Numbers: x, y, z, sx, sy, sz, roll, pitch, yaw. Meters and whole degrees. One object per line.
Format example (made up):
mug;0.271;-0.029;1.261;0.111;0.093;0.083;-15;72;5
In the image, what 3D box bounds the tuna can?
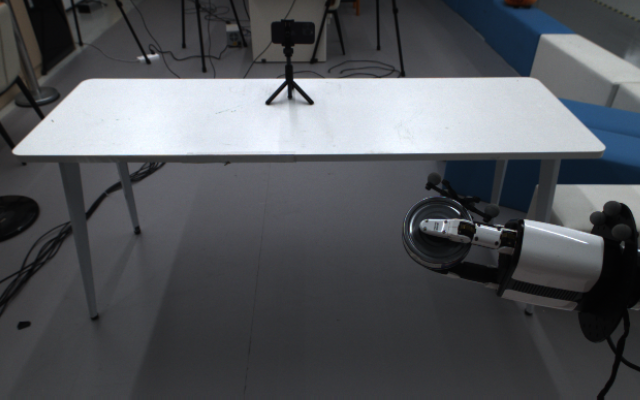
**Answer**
tuna can;0.148;0.045;0.587;0.085;0.034;0.085;-4;69;10
